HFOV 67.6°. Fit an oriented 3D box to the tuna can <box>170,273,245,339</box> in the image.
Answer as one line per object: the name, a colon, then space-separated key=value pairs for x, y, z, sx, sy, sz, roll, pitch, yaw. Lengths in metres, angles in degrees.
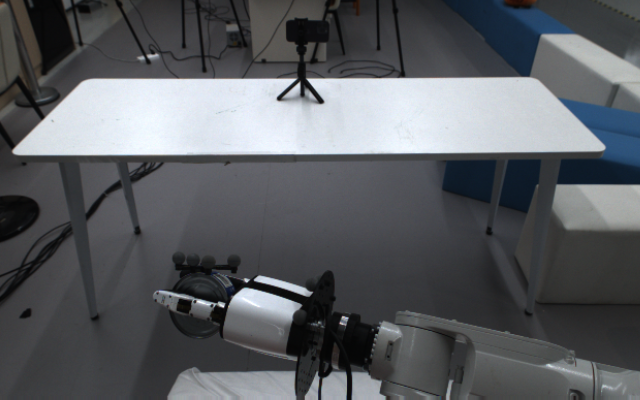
tuna can: x=-0.151 y=0.138 z=0.638 sx=0.085 sy=0.085 sz=0.034 roll=11 pitch=-1 yaw=13
